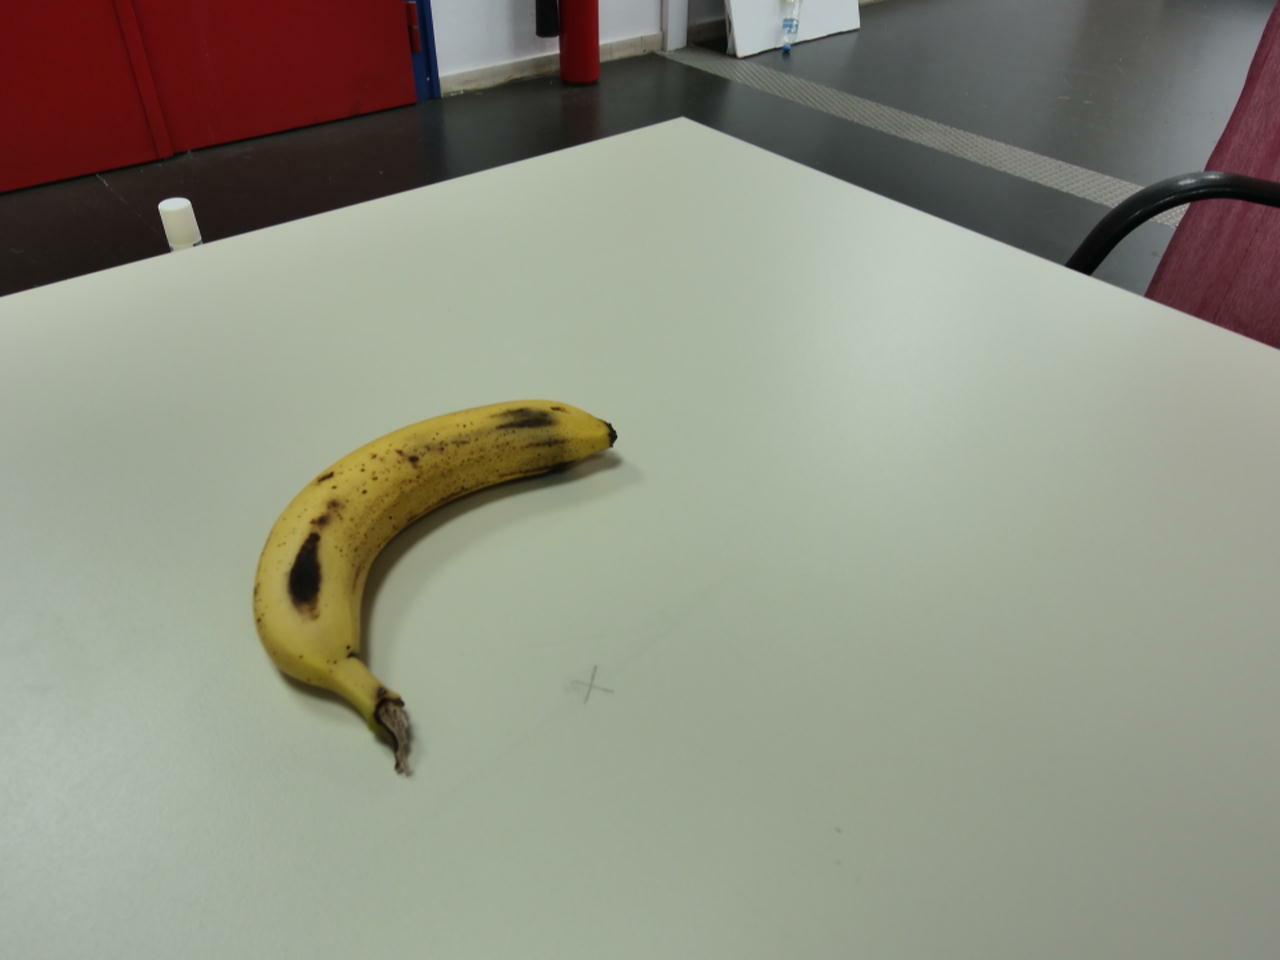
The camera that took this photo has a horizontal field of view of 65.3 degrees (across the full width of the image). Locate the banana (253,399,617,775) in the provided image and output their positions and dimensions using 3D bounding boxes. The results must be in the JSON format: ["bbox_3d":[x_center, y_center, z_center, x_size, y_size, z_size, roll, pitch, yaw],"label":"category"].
[{"bbox_3d":[-0.088,0.016,0.408,0.097,0.038,0.186,14,38,17],"label":"banana"}]
